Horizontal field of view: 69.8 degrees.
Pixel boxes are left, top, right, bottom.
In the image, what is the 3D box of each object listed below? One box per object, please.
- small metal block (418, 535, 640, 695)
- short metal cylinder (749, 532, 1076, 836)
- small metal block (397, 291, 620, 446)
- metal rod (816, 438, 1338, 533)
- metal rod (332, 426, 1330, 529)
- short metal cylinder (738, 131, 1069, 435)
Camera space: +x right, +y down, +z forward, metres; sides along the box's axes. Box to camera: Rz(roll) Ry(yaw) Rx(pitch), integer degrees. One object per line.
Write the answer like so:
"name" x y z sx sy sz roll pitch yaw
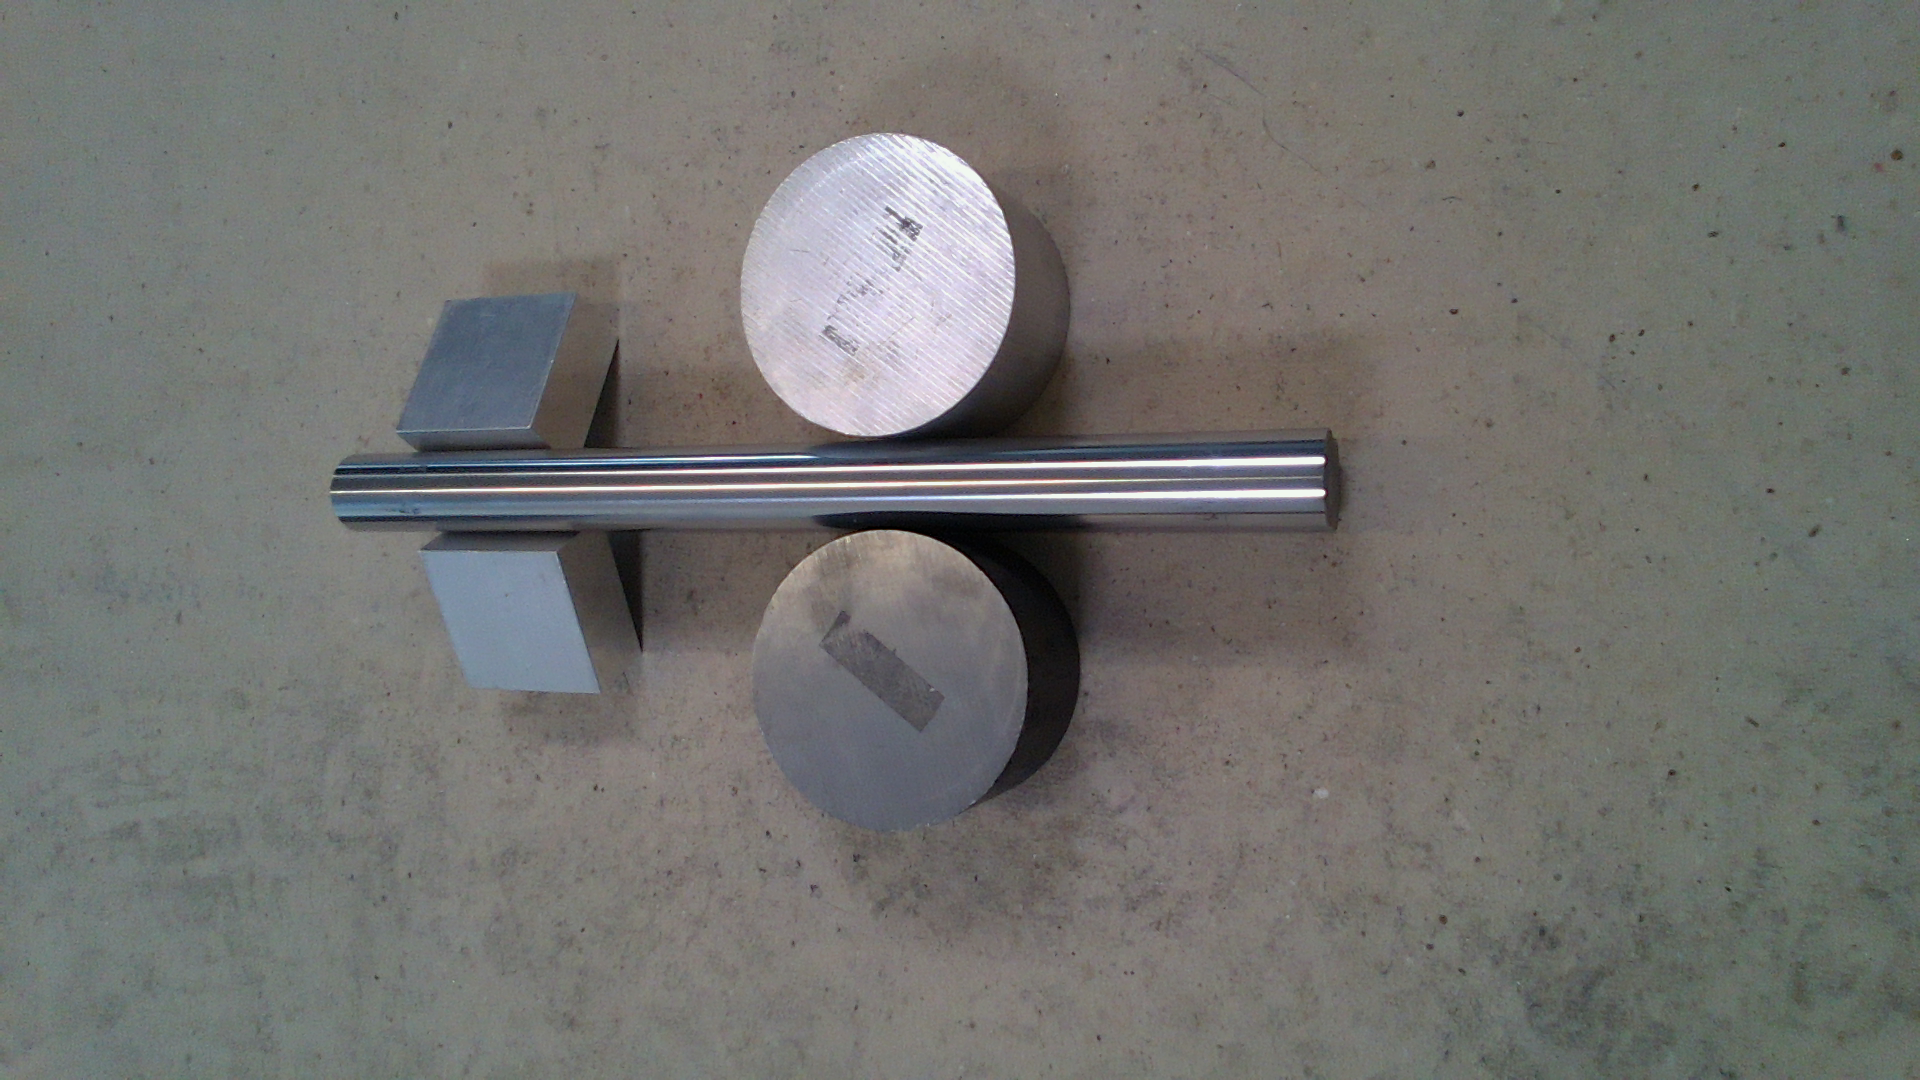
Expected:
"small metal block" -0.135 0.020 0.434 0.050 0.025 0.050 0 117 19
"short metal cylinder" -0.012 0.038 0.387 0.080 0.050 0.080 0 90 20
"small metal block" -0.143 -0.050 0.437 0.050 0.025 0.050 0 63 20
"metal rod" -0.042 -0.015 0.411 0.299 0.025 0.025 0 90 20
"metal rod" -0.050 -0.016 0.387 0.299 0.025 0.025 0 90 20
"short metal cylinder" -0.015 -0.068 0.388 0.080 0.050 0.080 0 90 20
